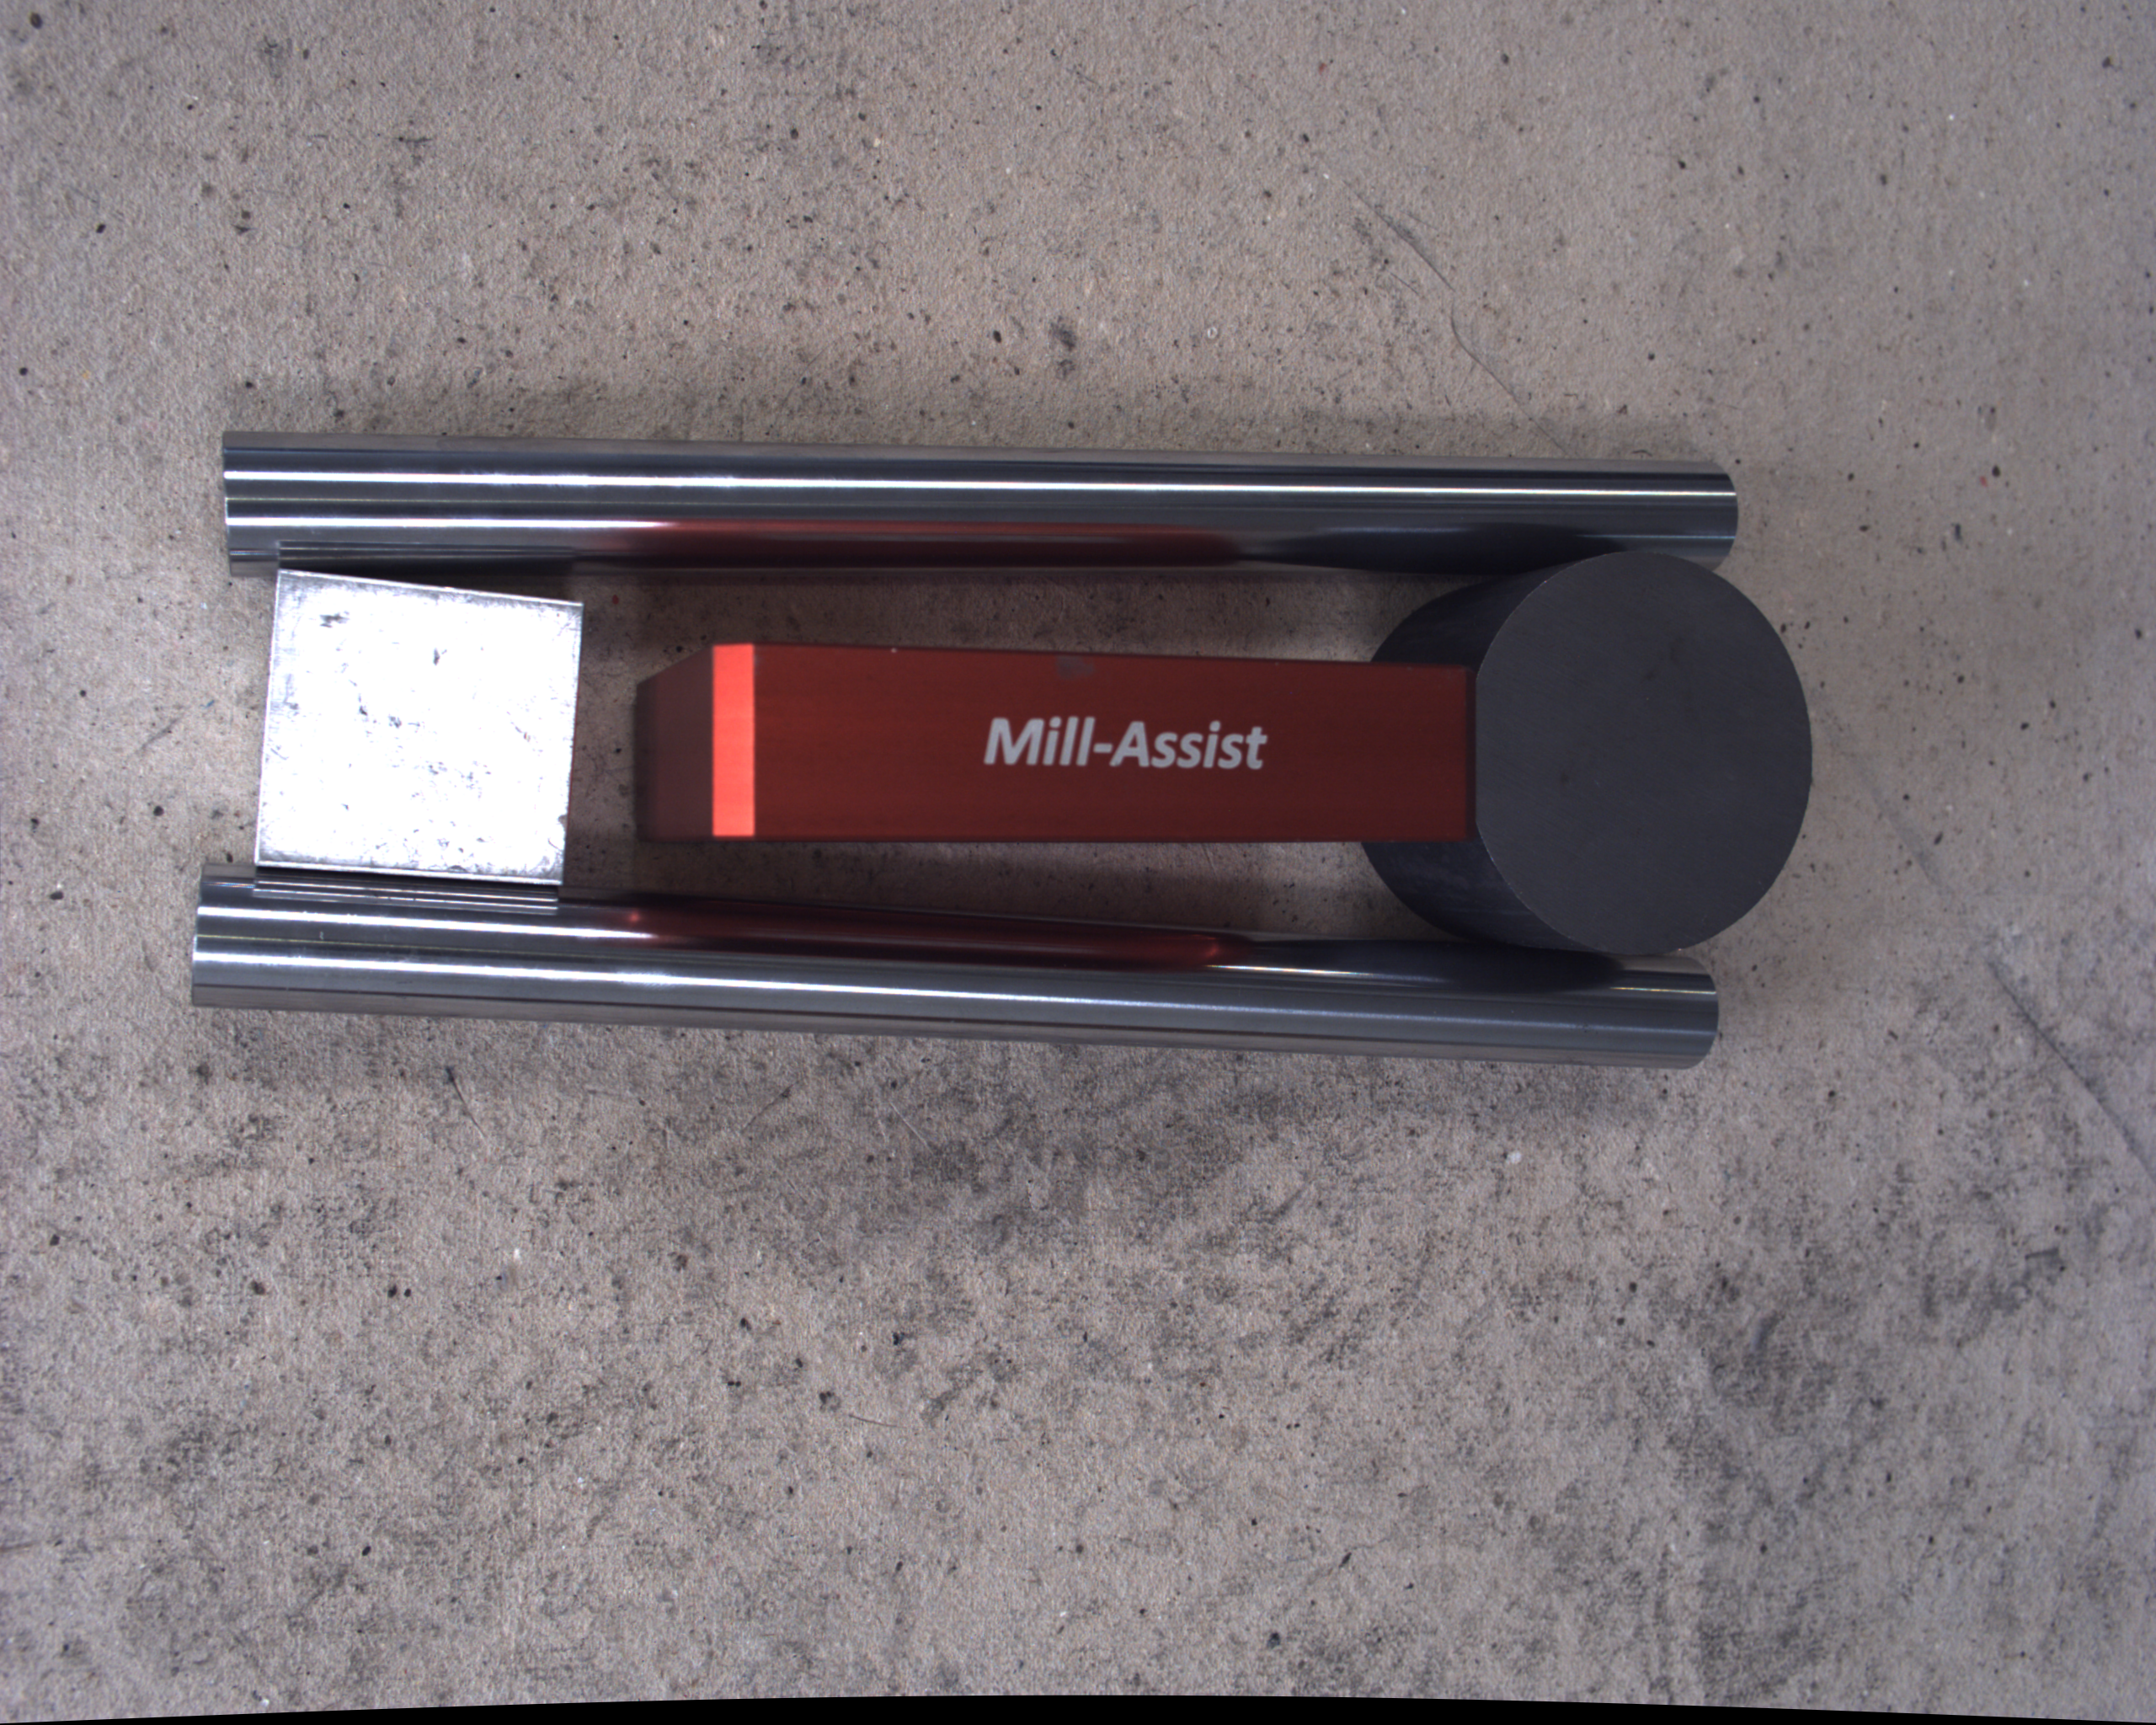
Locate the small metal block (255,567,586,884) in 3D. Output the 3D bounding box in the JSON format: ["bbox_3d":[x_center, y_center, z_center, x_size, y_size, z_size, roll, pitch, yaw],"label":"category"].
[{"bbox_3d":[-0.116,-0.023,0.368,0.050,0.025,0.050,5,89,-20],"label":"small metal block"}]

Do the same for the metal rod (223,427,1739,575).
[{"bbox_3d":[-0.004,-0.069,0.409,0.303,0.025,0.025,-3,91,-20],"label":"metal rod"}]

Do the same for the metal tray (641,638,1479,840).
[{"bbox_3d":[-0.007,-0.019,0.372,0.131,0.090,0.030,0,90,-20],"label":"metal tray"}]

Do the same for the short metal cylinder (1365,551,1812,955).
[{"bbox_3d":[0.103,-0.022,0.434,0.081,0.050,0.079,0,90,-20],"label":"short metal cylinder"}]

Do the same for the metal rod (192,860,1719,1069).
[{"bbox_3d":[-0.008,0.023,0.407,0.302,0.025,0.025,4,89,-20],"label":"metal rod"}]
